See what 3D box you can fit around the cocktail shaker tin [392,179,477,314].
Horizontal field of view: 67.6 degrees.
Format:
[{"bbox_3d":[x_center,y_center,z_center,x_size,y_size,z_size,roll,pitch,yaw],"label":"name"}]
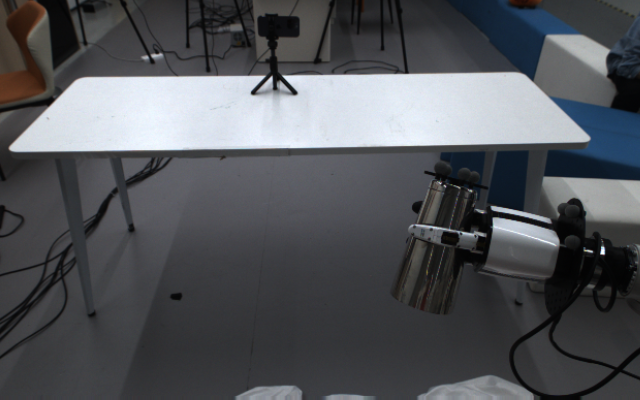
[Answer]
[{"bbox_3d":[0.167,0.061,0.679,0.093,0.170,0.093,14,6,-2],"label":"cocktail shaker tin"}]
